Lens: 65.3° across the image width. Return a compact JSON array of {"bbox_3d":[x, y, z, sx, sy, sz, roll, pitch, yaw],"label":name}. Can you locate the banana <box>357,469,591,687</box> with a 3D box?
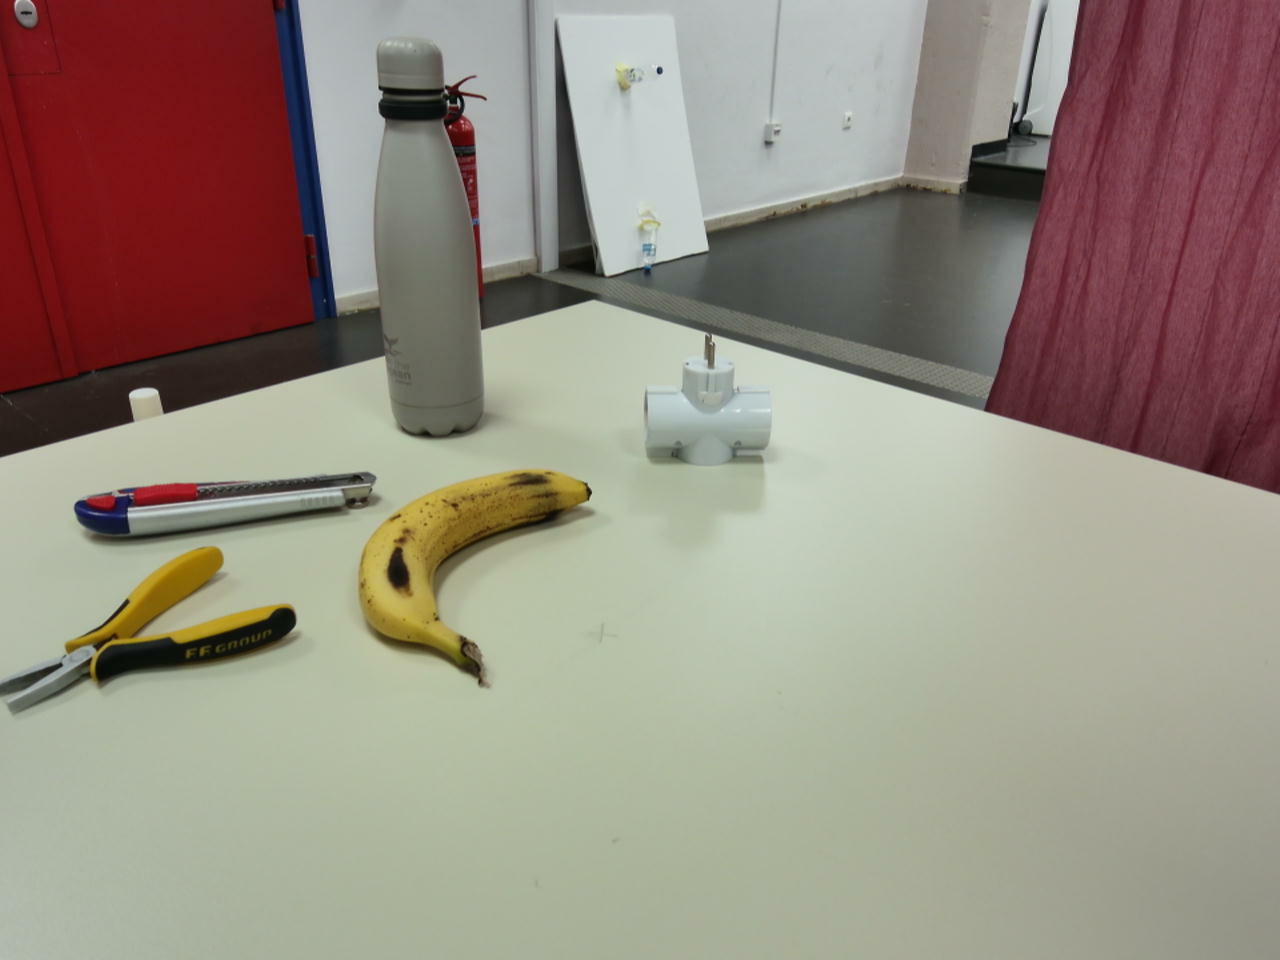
[{"bbox_3d":[-0.098,0.038,0.570,0.097,0.038,0.186,7,26,12],"label":"banana"}]
